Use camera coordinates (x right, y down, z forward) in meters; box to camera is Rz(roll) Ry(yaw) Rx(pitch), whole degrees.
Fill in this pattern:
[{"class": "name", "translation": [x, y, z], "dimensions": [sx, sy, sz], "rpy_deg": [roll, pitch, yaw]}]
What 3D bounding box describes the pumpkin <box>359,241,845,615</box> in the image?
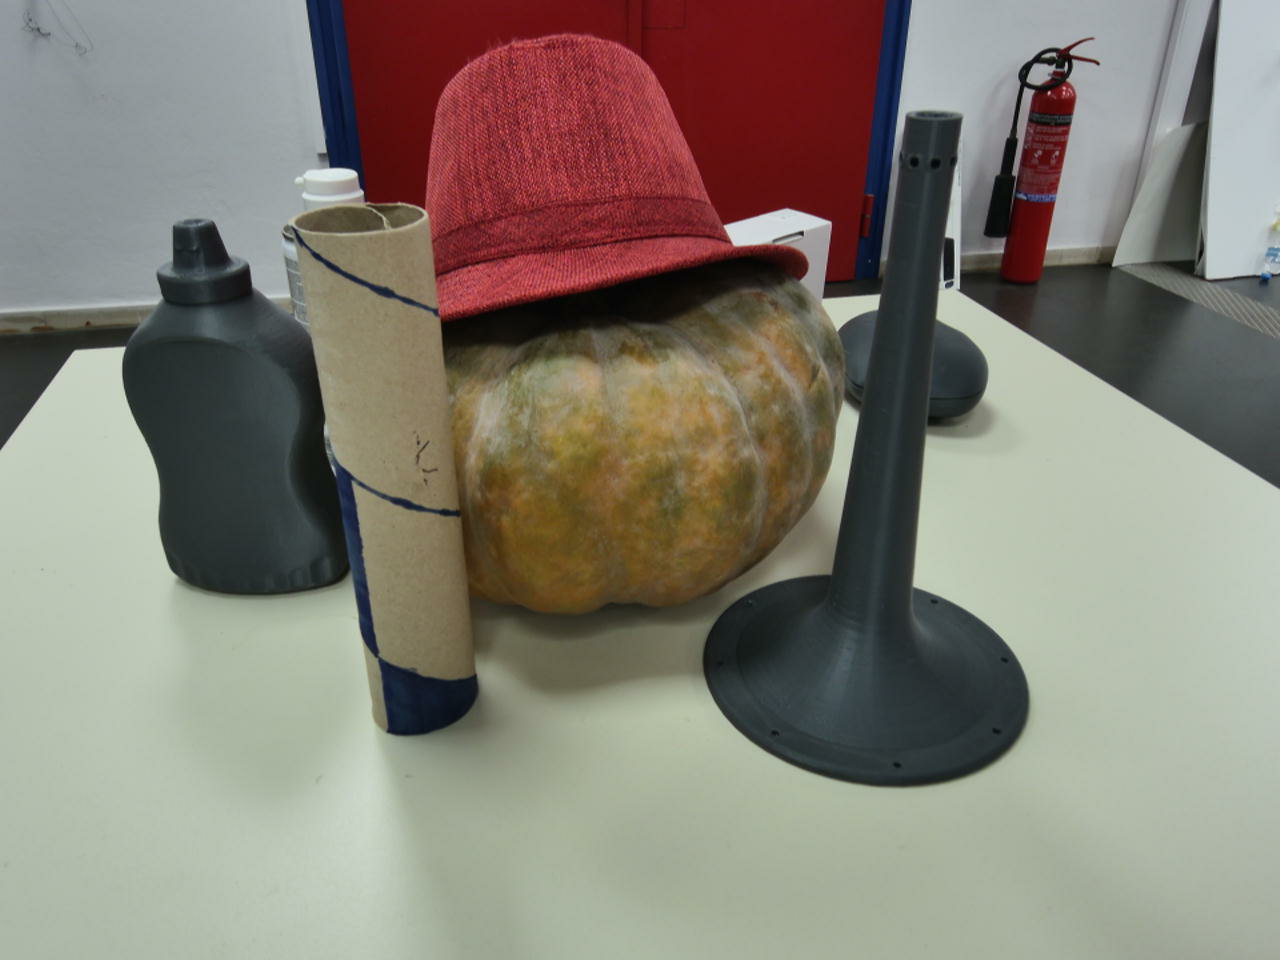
[{"class": "pumpkin", "translation": [-0.023, -0.033, 0.530], "dimensions": [0.252, 0.169, 0.251], "rpy_deg": [0, 27, 0]}]
